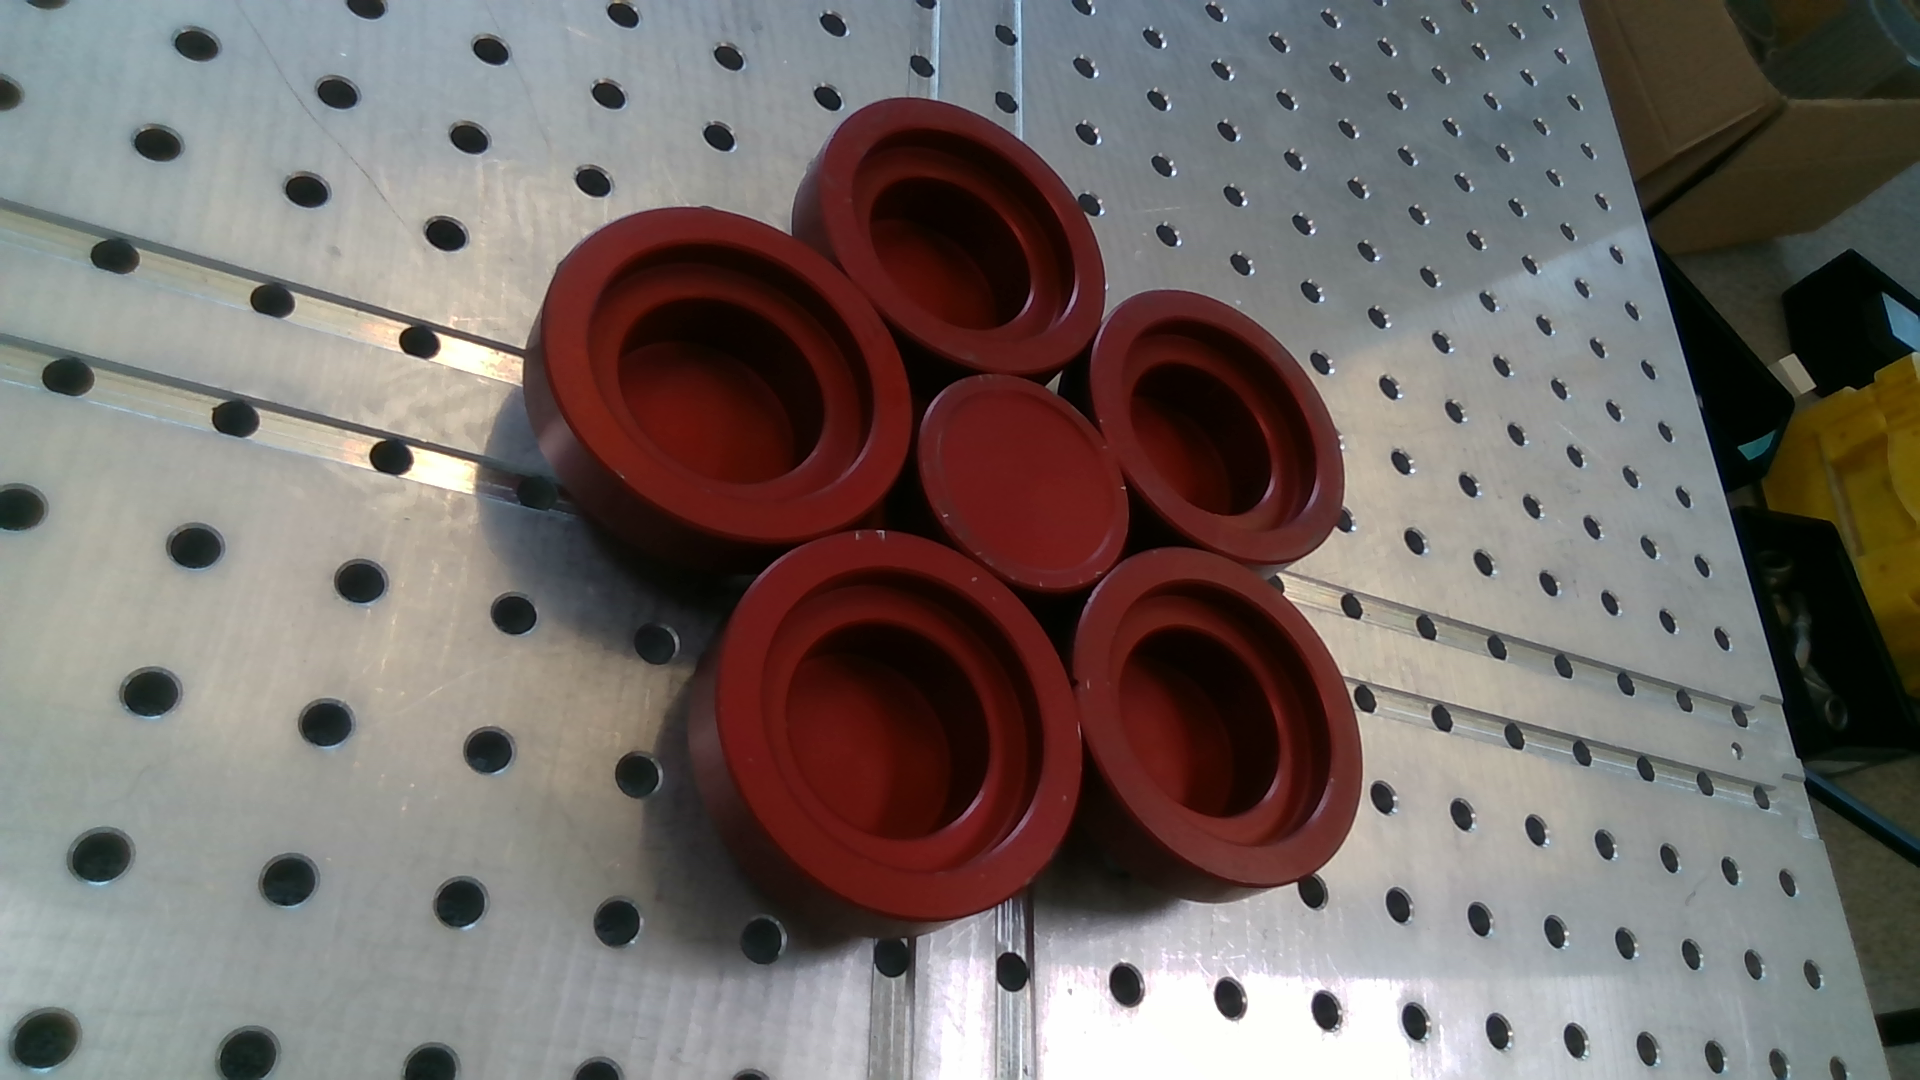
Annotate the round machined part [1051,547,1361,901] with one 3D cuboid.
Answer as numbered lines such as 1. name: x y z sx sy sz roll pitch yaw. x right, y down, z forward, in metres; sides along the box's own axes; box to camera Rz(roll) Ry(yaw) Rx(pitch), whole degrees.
1. round machined part: 0.063 0.055 0.394 0.098 0.042 0.098 14 59 -25

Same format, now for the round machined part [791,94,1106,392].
1. round machined part: -0.007 -0.085 0.426 0.098 0.042 0.098 14 59 -25

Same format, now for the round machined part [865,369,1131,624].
1. round machined part: 0.009 -0.009 0.395 0.098 0.042 0.098 14 59 -25

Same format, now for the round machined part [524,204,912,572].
1. round machined part: -0.065 -0.036 0.363 0.098 0.042 0.098 14 59 -25

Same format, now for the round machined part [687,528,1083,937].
1. round machined part: -0.021 0.050 0.345 0.098 0.042 0.098 14 59 -25

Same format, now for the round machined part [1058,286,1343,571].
1. round machined part: 0.072 -0.029 0.445 0.098 0.042 0.098 14 59 -25
